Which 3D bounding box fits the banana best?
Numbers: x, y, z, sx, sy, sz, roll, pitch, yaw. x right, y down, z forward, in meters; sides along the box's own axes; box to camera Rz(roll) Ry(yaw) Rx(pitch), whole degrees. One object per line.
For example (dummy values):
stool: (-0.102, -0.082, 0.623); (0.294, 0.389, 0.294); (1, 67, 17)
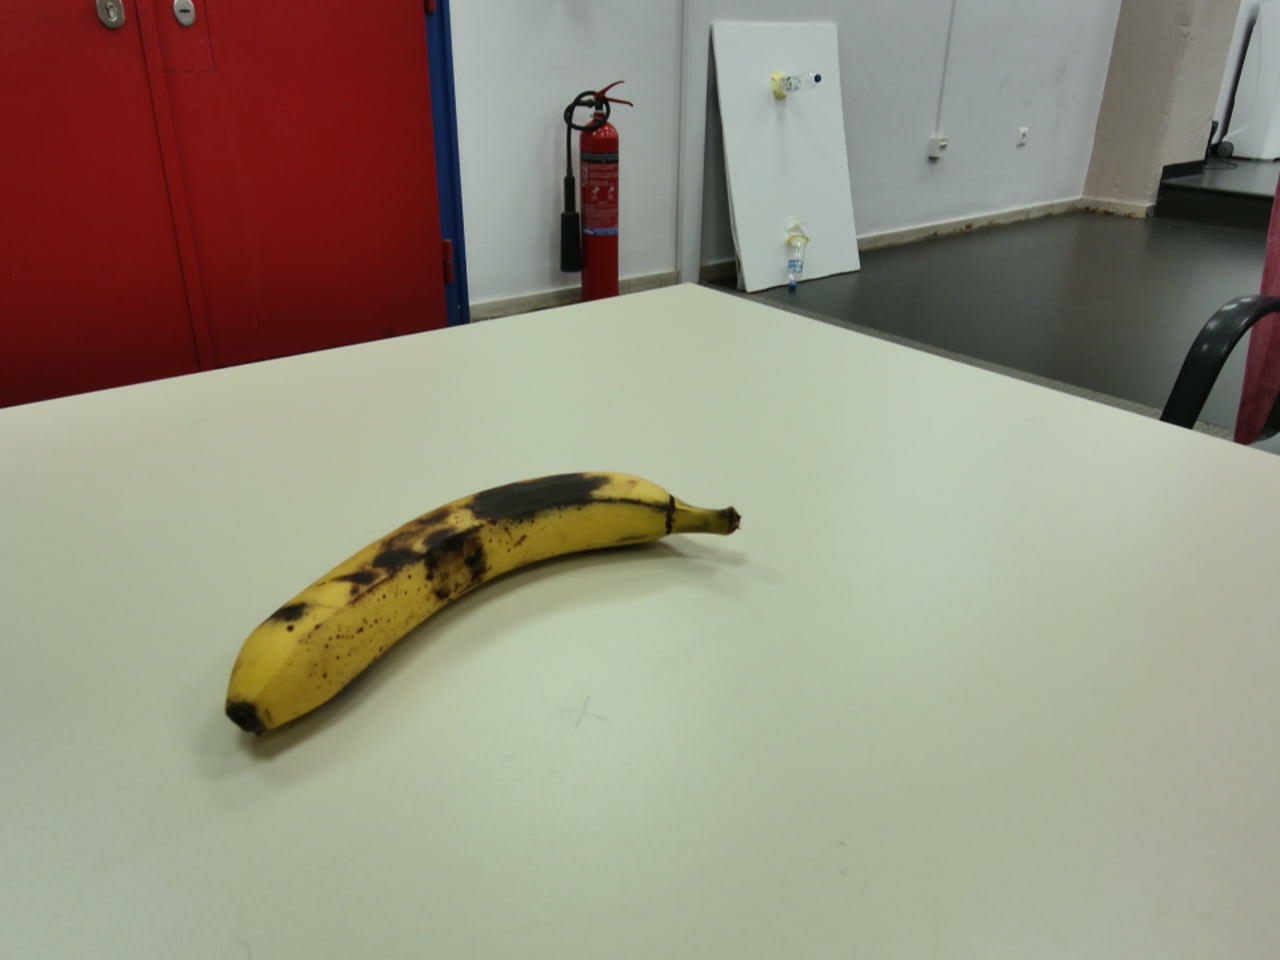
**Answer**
banana: (-0.064, 0.034, 0.401); (0.222, 0.037, 0.084); (-17, 29, -36)
